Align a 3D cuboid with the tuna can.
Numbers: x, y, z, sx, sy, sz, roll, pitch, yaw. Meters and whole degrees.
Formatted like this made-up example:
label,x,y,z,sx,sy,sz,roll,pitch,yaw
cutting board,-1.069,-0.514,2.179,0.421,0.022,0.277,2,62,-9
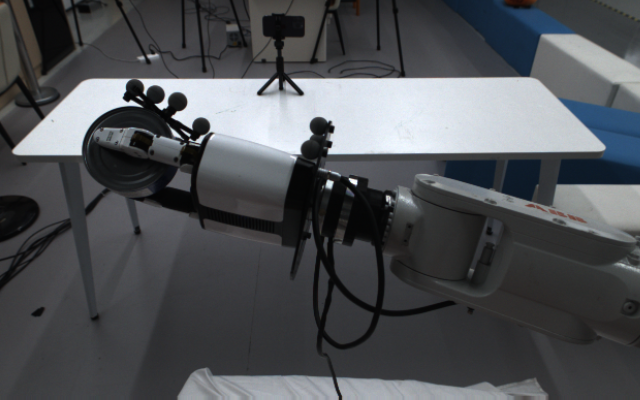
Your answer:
label,x,y,z,sx,sy,sz,roll,pitch,yaw
tuna can,-0.183,-0.047,0.477,0.085,0.034,0.085,1,75,-5
